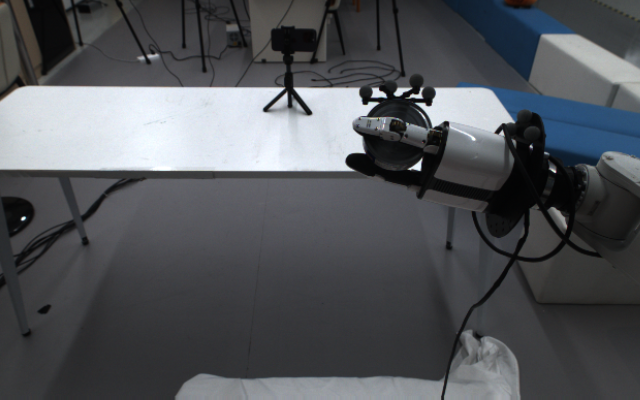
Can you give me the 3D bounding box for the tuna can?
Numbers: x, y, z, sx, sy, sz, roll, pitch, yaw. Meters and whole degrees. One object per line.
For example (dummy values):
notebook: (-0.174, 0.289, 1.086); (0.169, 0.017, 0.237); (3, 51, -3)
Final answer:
tuna can: (0.095, -0.083, 0.608); (0.085, 0.034, 0.085); (-1, 74, 4)
